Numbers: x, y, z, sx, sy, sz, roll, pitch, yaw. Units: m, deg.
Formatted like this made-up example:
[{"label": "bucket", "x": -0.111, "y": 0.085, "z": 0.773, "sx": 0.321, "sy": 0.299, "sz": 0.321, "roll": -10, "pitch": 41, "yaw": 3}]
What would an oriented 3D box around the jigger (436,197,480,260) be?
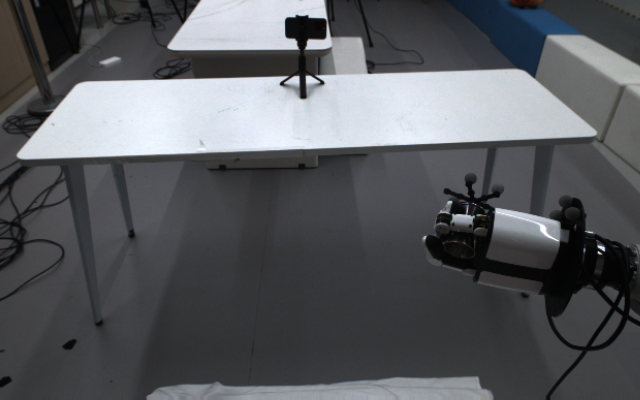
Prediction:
[{"label": "jigger", "x": 0.203, "y": 0.038, "z": 0.675, "sx": 0.043, "sy": 0.043, "sz": 0.071, "roll": 16, "pitch": 58, "yaw": 19}]
